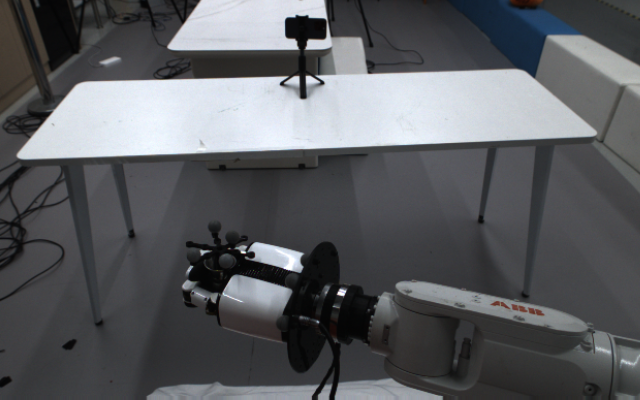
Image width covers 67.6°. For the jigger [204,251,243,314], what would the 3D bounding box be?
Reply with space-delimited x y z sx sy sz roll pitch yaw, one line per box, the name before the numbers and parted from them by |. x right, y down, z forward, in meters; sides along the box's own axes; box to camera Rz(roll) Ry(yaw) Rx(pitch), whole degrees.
jigger | -0.127 0.108 0.627 0.043 0.071 0.043 6 26 -3
